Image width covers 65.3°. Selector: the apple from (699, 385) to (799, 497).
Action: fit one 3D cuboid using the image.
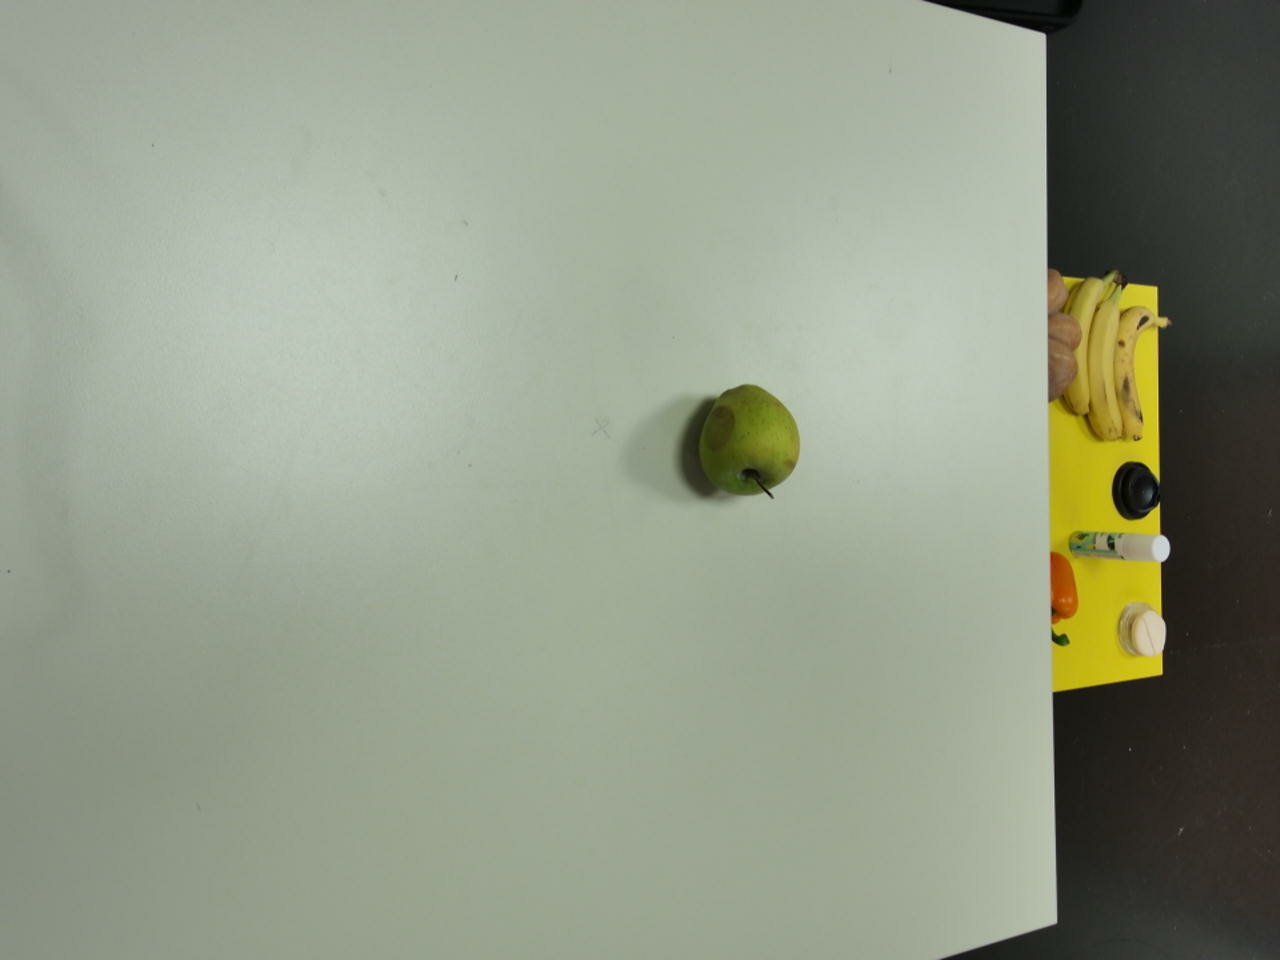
[{"bbox_3d":[0.079,-0.027,0.714,0.072,0.075,0.077,48,70,-20],"label":"apple"}]
